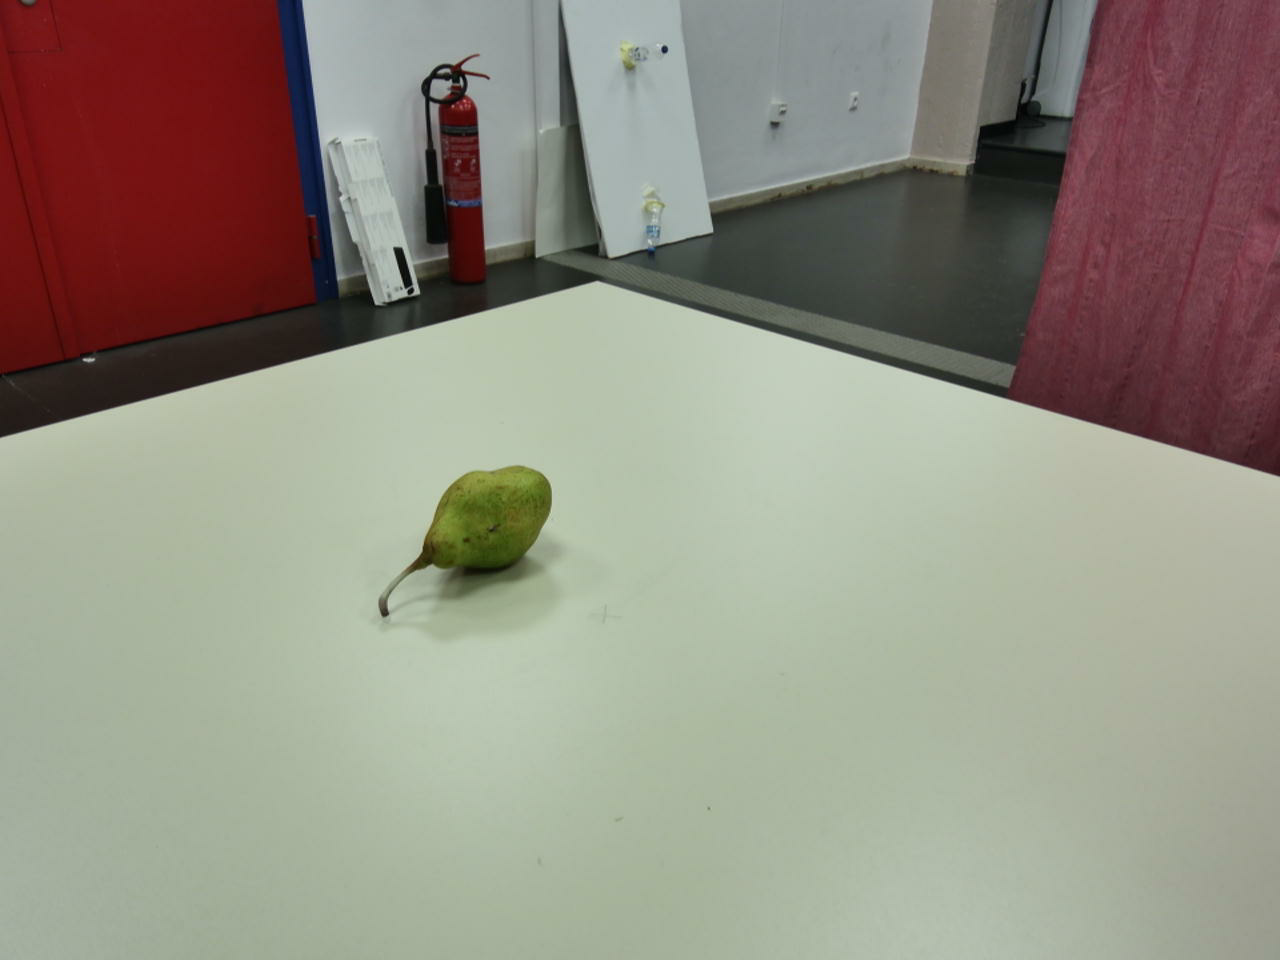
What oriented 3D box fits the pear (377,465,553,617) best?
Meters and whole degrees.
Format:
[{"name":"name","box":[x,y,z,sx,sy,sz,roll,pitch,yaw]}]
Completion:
[{"name":"pear","box":[-0.100,0.026,0.550,0.111,0.056,0.056,-15,29,-30]}]
